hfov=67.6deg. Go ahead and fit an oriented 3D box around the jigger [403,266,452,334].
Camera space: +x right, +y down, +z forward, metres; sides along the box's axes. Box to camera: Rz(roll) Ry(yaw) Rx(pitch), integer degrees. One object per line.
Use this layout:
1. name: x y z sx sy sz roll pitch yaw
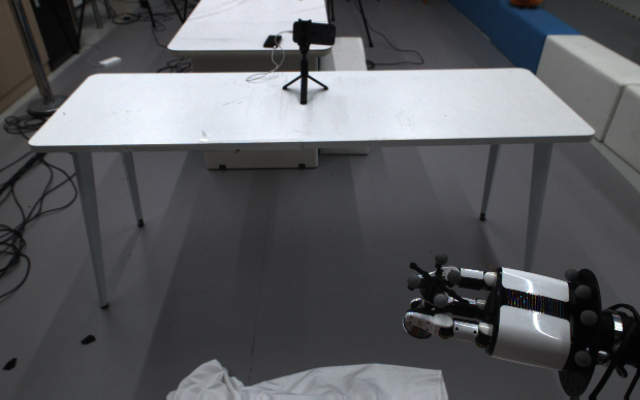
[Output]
1. jigger: 0.141 0.147 0.653 0.043 0.071 0.043 10 35 -7
